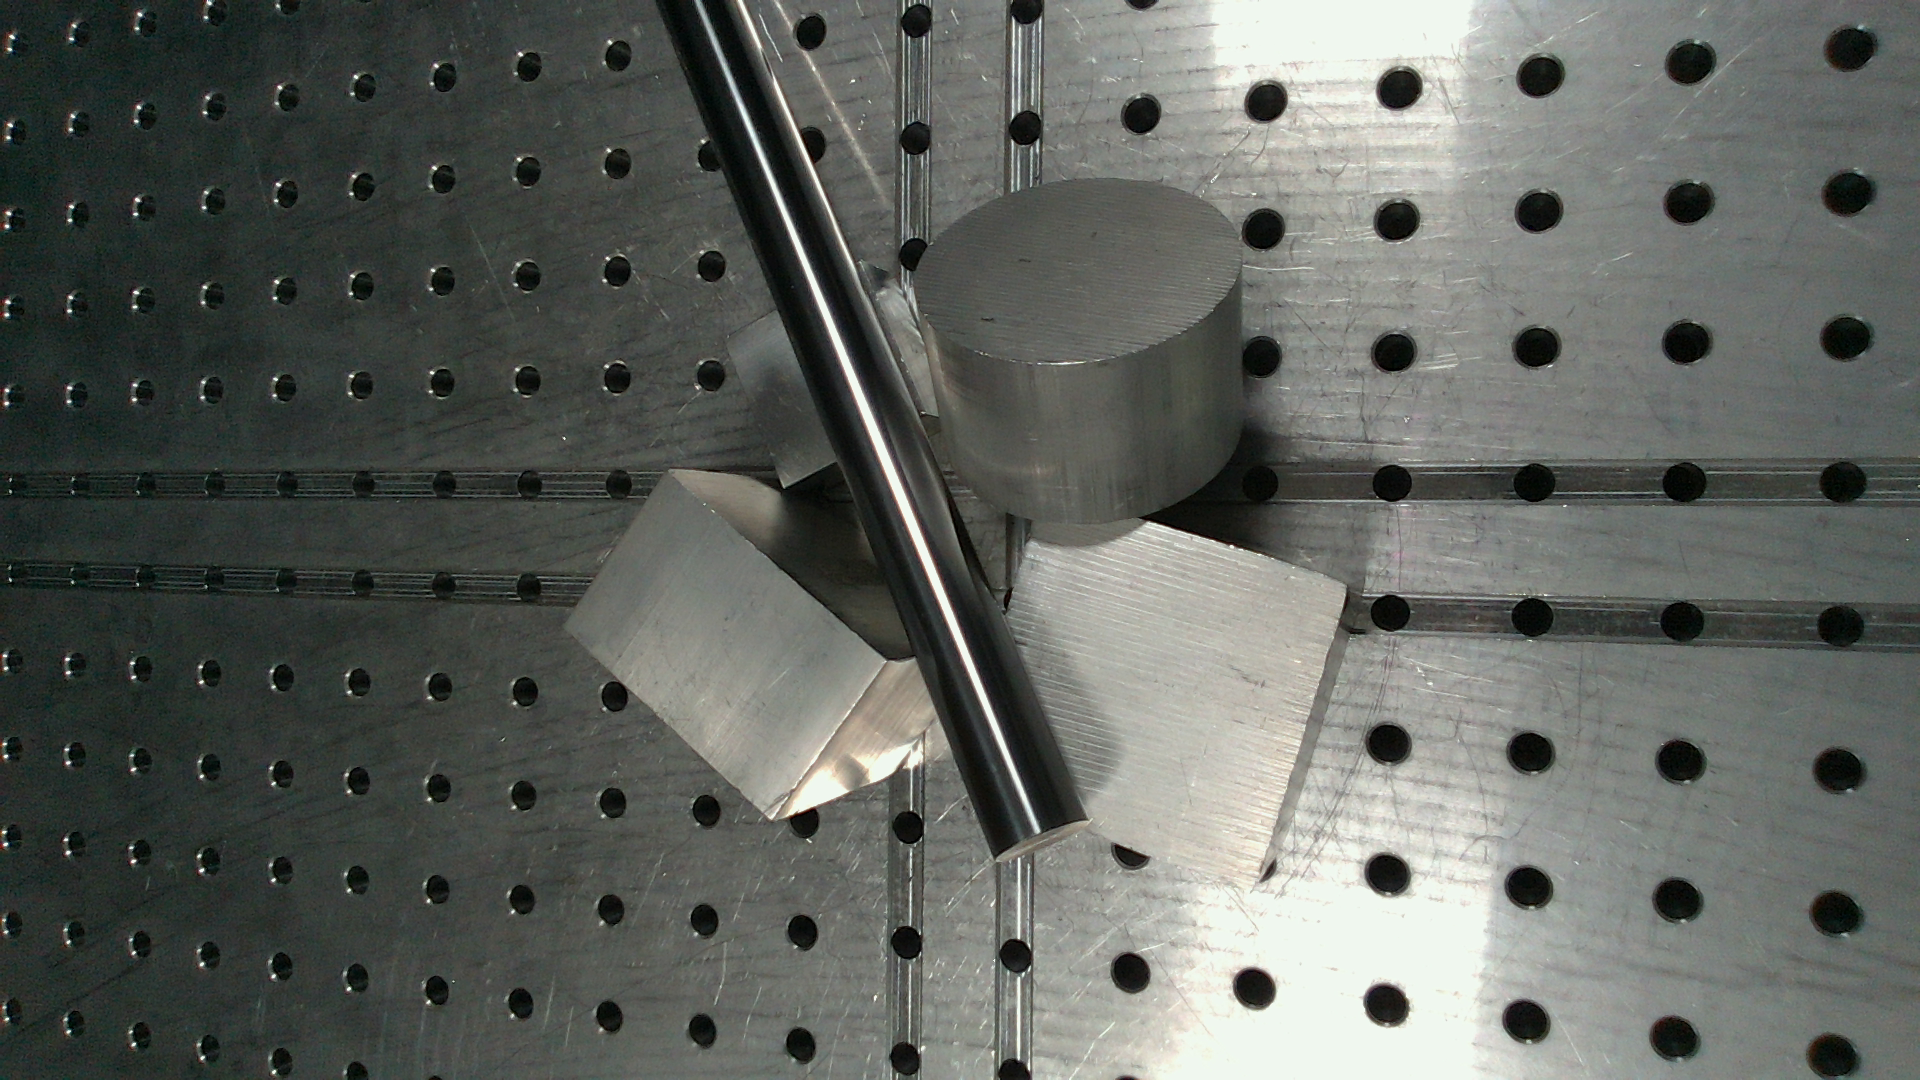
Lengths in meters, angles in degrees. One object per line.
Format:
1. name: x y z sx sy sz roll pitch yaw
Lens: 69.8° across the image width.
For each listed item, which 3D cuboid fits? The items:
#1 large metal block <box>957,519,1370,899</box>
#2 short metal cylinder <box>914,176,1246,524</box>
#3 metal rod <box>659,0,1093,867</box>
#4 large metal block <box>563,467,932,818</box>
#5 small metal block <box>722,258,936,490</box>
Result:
1. large metal block: 0.055 0.037 0.365 0.080 0.050 0.080 18 96 19
2. short metal cylinder: 0.032 -0.050 0.350 0.080 0.080 0.050 9 137 20
3. metal rod: -0.034 -0.057 0.378 0.025 0.025 0.300 -29 69 18
4. large metal block: -0.047 0.025 0.386 0.080 0.080 0.050 39 103 16
5. small metal block: -0.036 -0.048 0.412 0.050 0.025 0.050 -26 82 18
